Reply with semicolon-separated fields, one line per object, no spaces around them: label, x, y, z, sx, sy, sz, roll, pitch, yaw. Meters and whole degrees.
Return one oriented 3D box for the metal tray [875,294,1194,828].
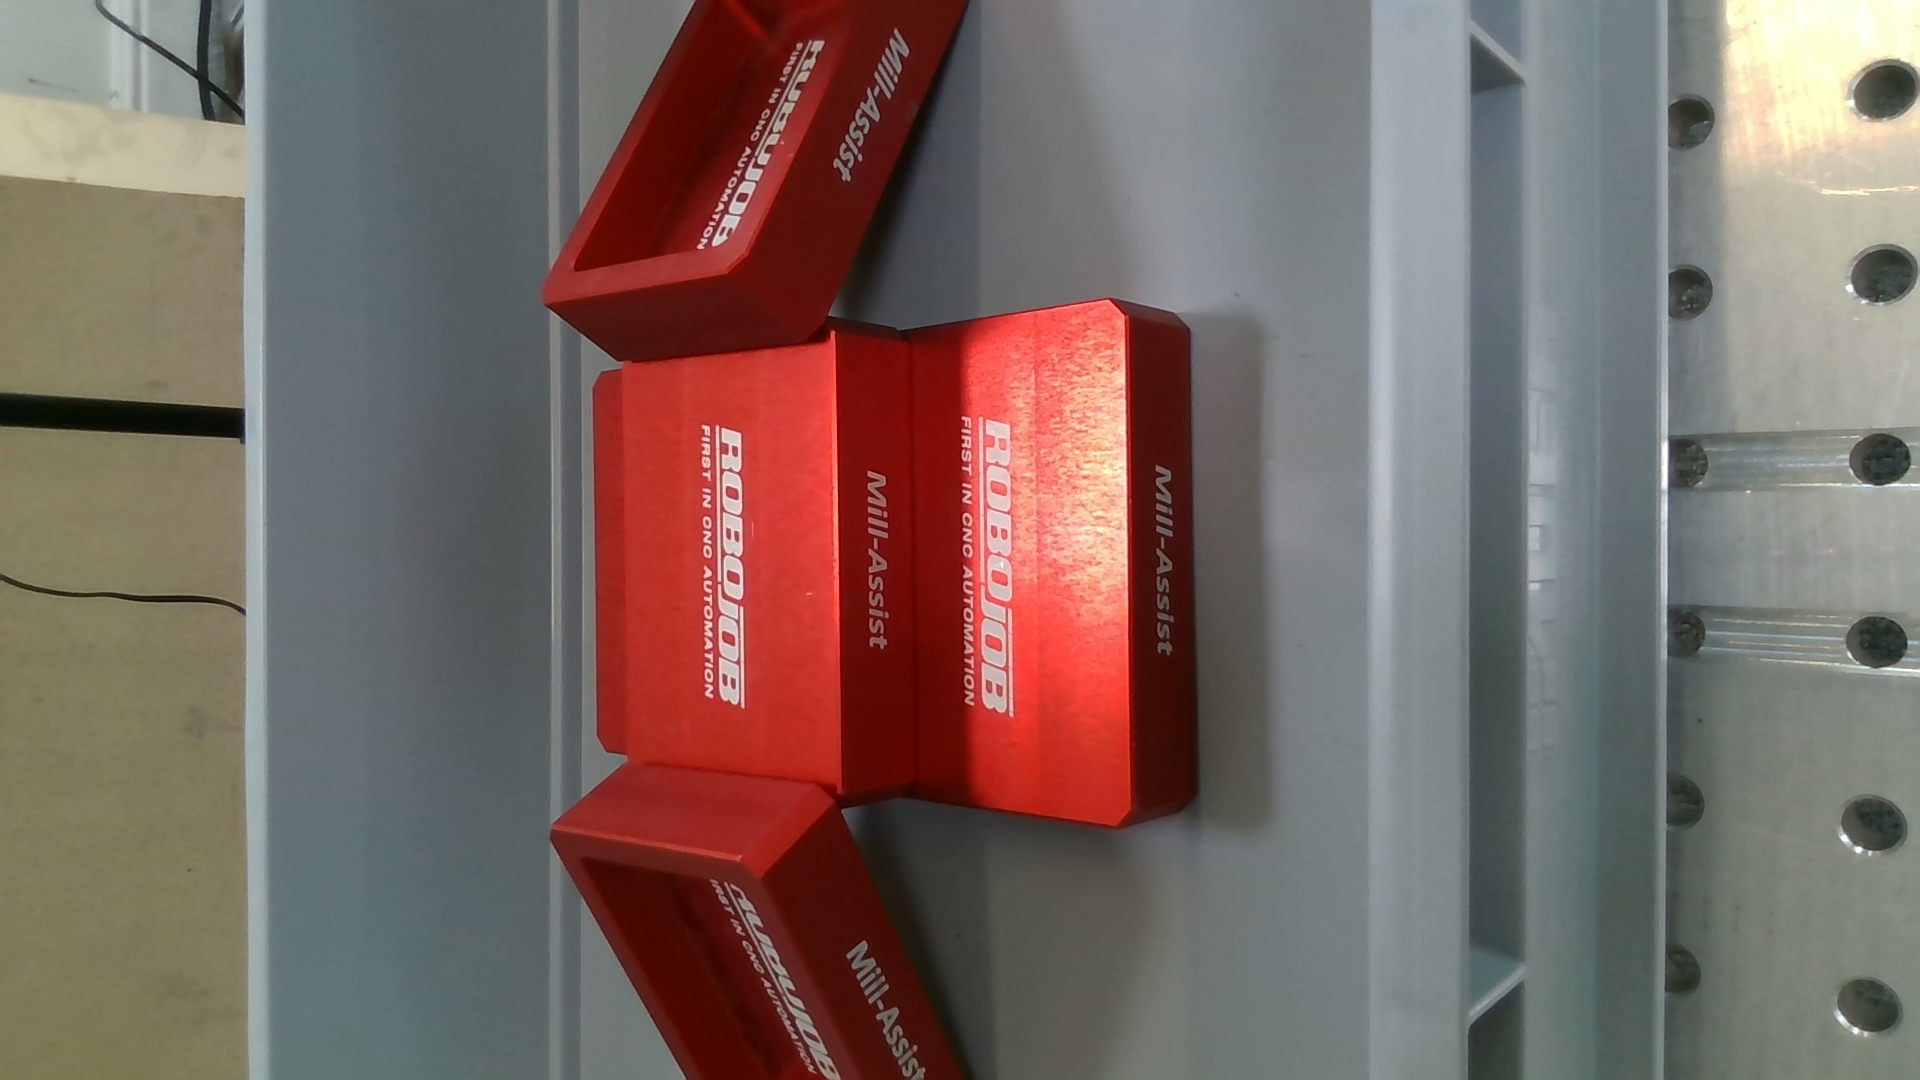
metal tray;0.016;0.005;0.371;0.090;0.030;0.130;-1;90;40

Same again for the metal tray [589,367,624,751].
metal tray;-0.083;0.006;0.455;0.090;0.030;0.130;-1;90;40

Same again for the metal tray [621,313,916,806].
metal tray;-0.057;0.006;0.395;0.090;0.030;0.130;-2;90;40

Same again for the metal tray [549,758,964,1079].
metal tray;-0.054;0.126;0.392;0.090;0.030;0.130;-2;118;41

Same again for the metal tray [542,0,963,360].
metal tray;-0.058;-0.116;0.394;0.090;0.030;0.130;1;62;41
